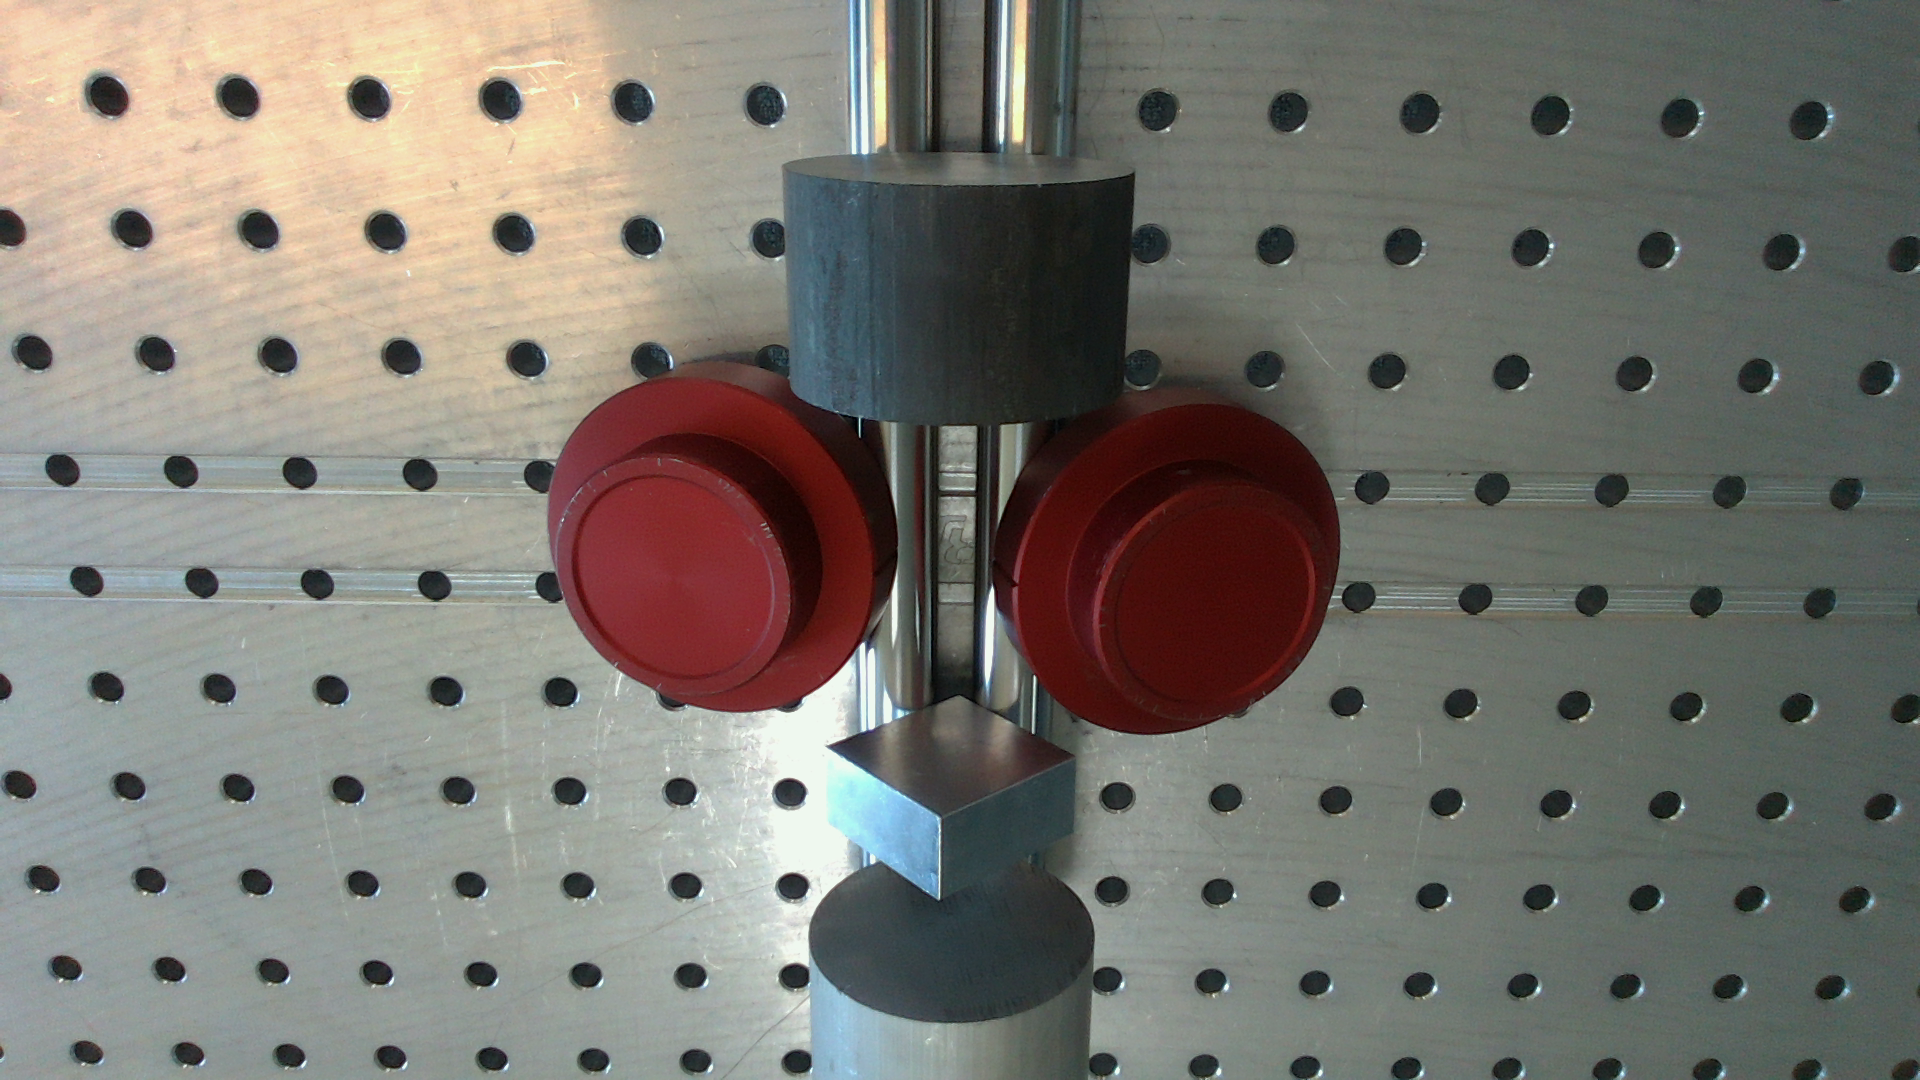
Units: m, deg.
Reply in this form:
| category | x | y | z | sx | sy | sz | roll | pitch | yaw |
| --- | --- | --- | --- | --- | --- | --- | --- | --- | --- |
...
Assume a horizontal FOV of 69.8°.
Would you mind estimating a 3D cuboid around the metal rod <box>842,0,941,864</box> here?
| category | x | y | z | sx | sy | sz | roll | pitch | yaw |
| --- | --- | --- | --- | --- | --- | --- | --- | --- | --- |
| metal rod | -0.019 | 0.000 | 0.395 | 0.025 | 0.025 | 0.300 | 1 | 110 | 0 |

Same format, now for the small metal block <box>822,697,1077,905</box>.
| category | x | y | z | sx | sy | sz | roll | pitch | yaw |
| --- | --- | --- | --- | --- | --- | --- | --- | --- | --- |
| small metal block | -0.003 | 0.071 | 0.384 | 0.050 | 0.050 | 0.025 | -16 | 116 | -39 |

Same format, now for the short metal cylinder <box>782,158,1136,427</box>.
| category | x | y | z | sx | sy | sz | roll | pitch | yaw |
| --- | --- | --- | --- | --- | --- | --- | --- | --- | --- |
| short metal cylinder | 0.000 | -0.061 | 0.321 | 0.080 | 0.080 | 0.050 | 1 | 110 | 0 |

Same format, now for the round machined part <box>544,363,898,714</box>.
| category | x | y | z | sx | sy | sz | roll | pitch | yaw |
| --- | --- | --- | --- | --- | --- | --- | --- | --- | --- |
| round machined part | -0.070 | 0.004 | 0.375 | 0.098 | 0.042 | 0.098 | 5 | 111 | 13 |

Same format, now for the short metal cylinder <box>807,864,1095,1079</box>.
| category | x | y | z | sx | sy | sz | roll | pitch | yaw |
| --- | --- | --- | --- | --- | --- | --- | --- | --- | --- |
| short metal cylinder | -0.003 | 0.132 | 0.393 | 0.080 | 0.080 | 0.050 | 1 | 110 | 0 |

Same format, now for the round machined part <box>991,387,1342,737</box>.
| category | x | y | z | sx | sy | sz | roll | pitch | yaw |
| --- | --- | --- | --- | --- | --- | --- | --- | --- | --- |
| round machined part | 0.061 | 0.011 | 0.377 | 0.098 | 0.042 | 0.098 | -6 | 111 | -14 |

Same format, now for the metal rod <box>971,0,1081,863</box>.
| category | x | y | z | sx | sy | sz | roll | pitch | yaw |
| --- | --- | --- | --- | --- | --- | --- | --- | --- | --- |
| metal rod | 0.016 | -0.002 | 0.395 | 0.025 | 0.025 | 0.300 | 1 | 110 | 0 |
